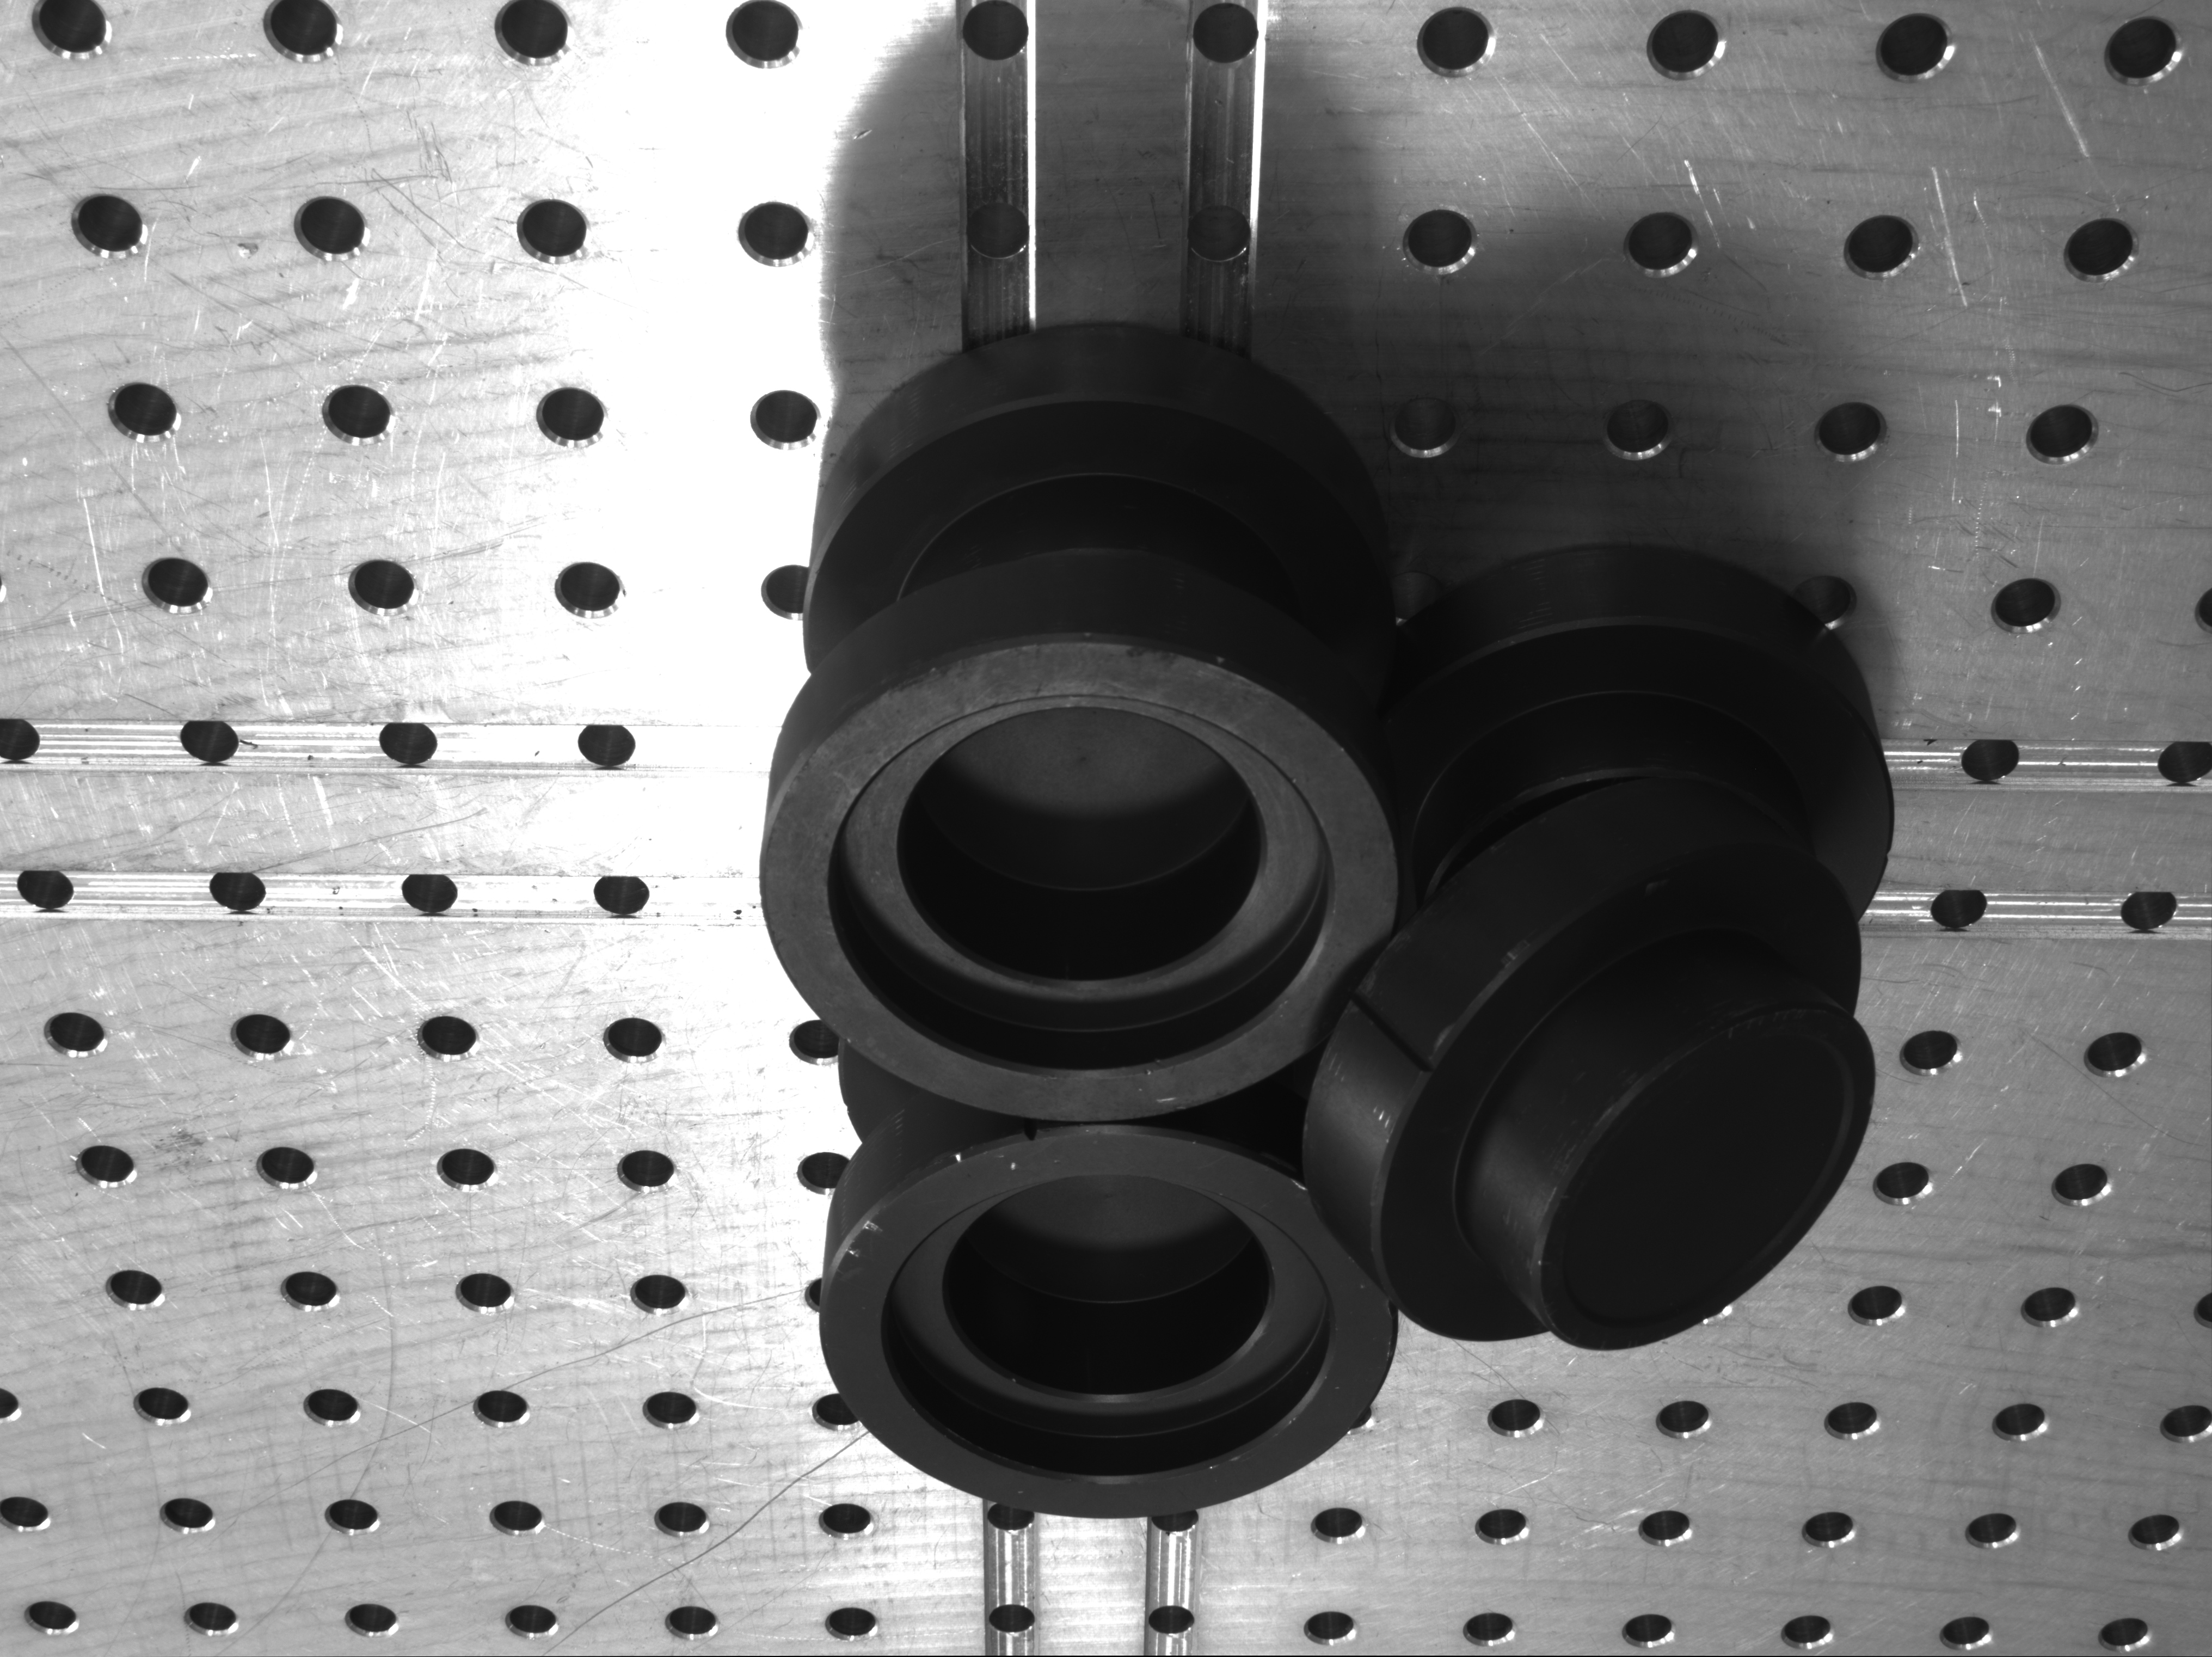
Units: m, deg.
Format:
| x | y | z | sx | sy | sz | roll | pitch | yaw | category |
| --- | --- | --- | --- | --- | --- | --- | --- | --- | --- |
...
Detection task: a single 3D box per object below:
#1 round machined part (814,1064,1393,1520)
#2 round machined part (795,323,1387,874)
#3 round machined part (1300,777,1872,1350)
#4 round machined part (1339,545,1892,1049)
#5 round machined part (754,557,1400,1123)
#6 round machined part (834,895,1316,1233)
| x | y | z | sx | sy | sz | roll | pitch | yaw | category |
| --- | --- | --- | --- | --- | --- | --- | --- | --- | --- |
| 0.000 | 0.073 | 0.637 | 0.098 | 0.042 | 0.098 | 0 | 130 | 0 | round machined part |
| -0.003 | -0.031 | 0.607 | 0.098 | 0.042 | 0.098 | 0 | 130 | 0 | round machined part |
| 0.083 | 0.044 | 0.586 | 0.098 | 0.042 | 0.098 | -22 | 134 | -24 | round machined part |
| 0.087 | 0.003 | 0.635 | 0.098 | 0.042 | 0.098 | 0 | 130 | 0 | round machined part |
| -0.004 | -0.003 | 0.574 | 0.098 | 0.042 | 0.098 | 0 | 130 | 0 | round machined part |
| -0.001 | 0.045 | 0.670 | 0.098 | 0.042 | 0.098 | 0 | 130 | 0 | round machined part |
